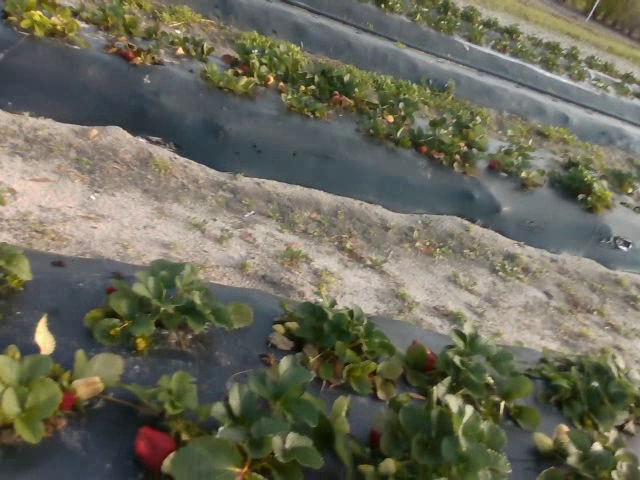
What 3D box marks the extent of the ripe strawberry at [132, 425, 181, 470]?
[{"bbox_3d":[-0.236,0.289,0.870,0.057,0.070,0.058,-11,29,51],"label":"ripe strawberry"}]
